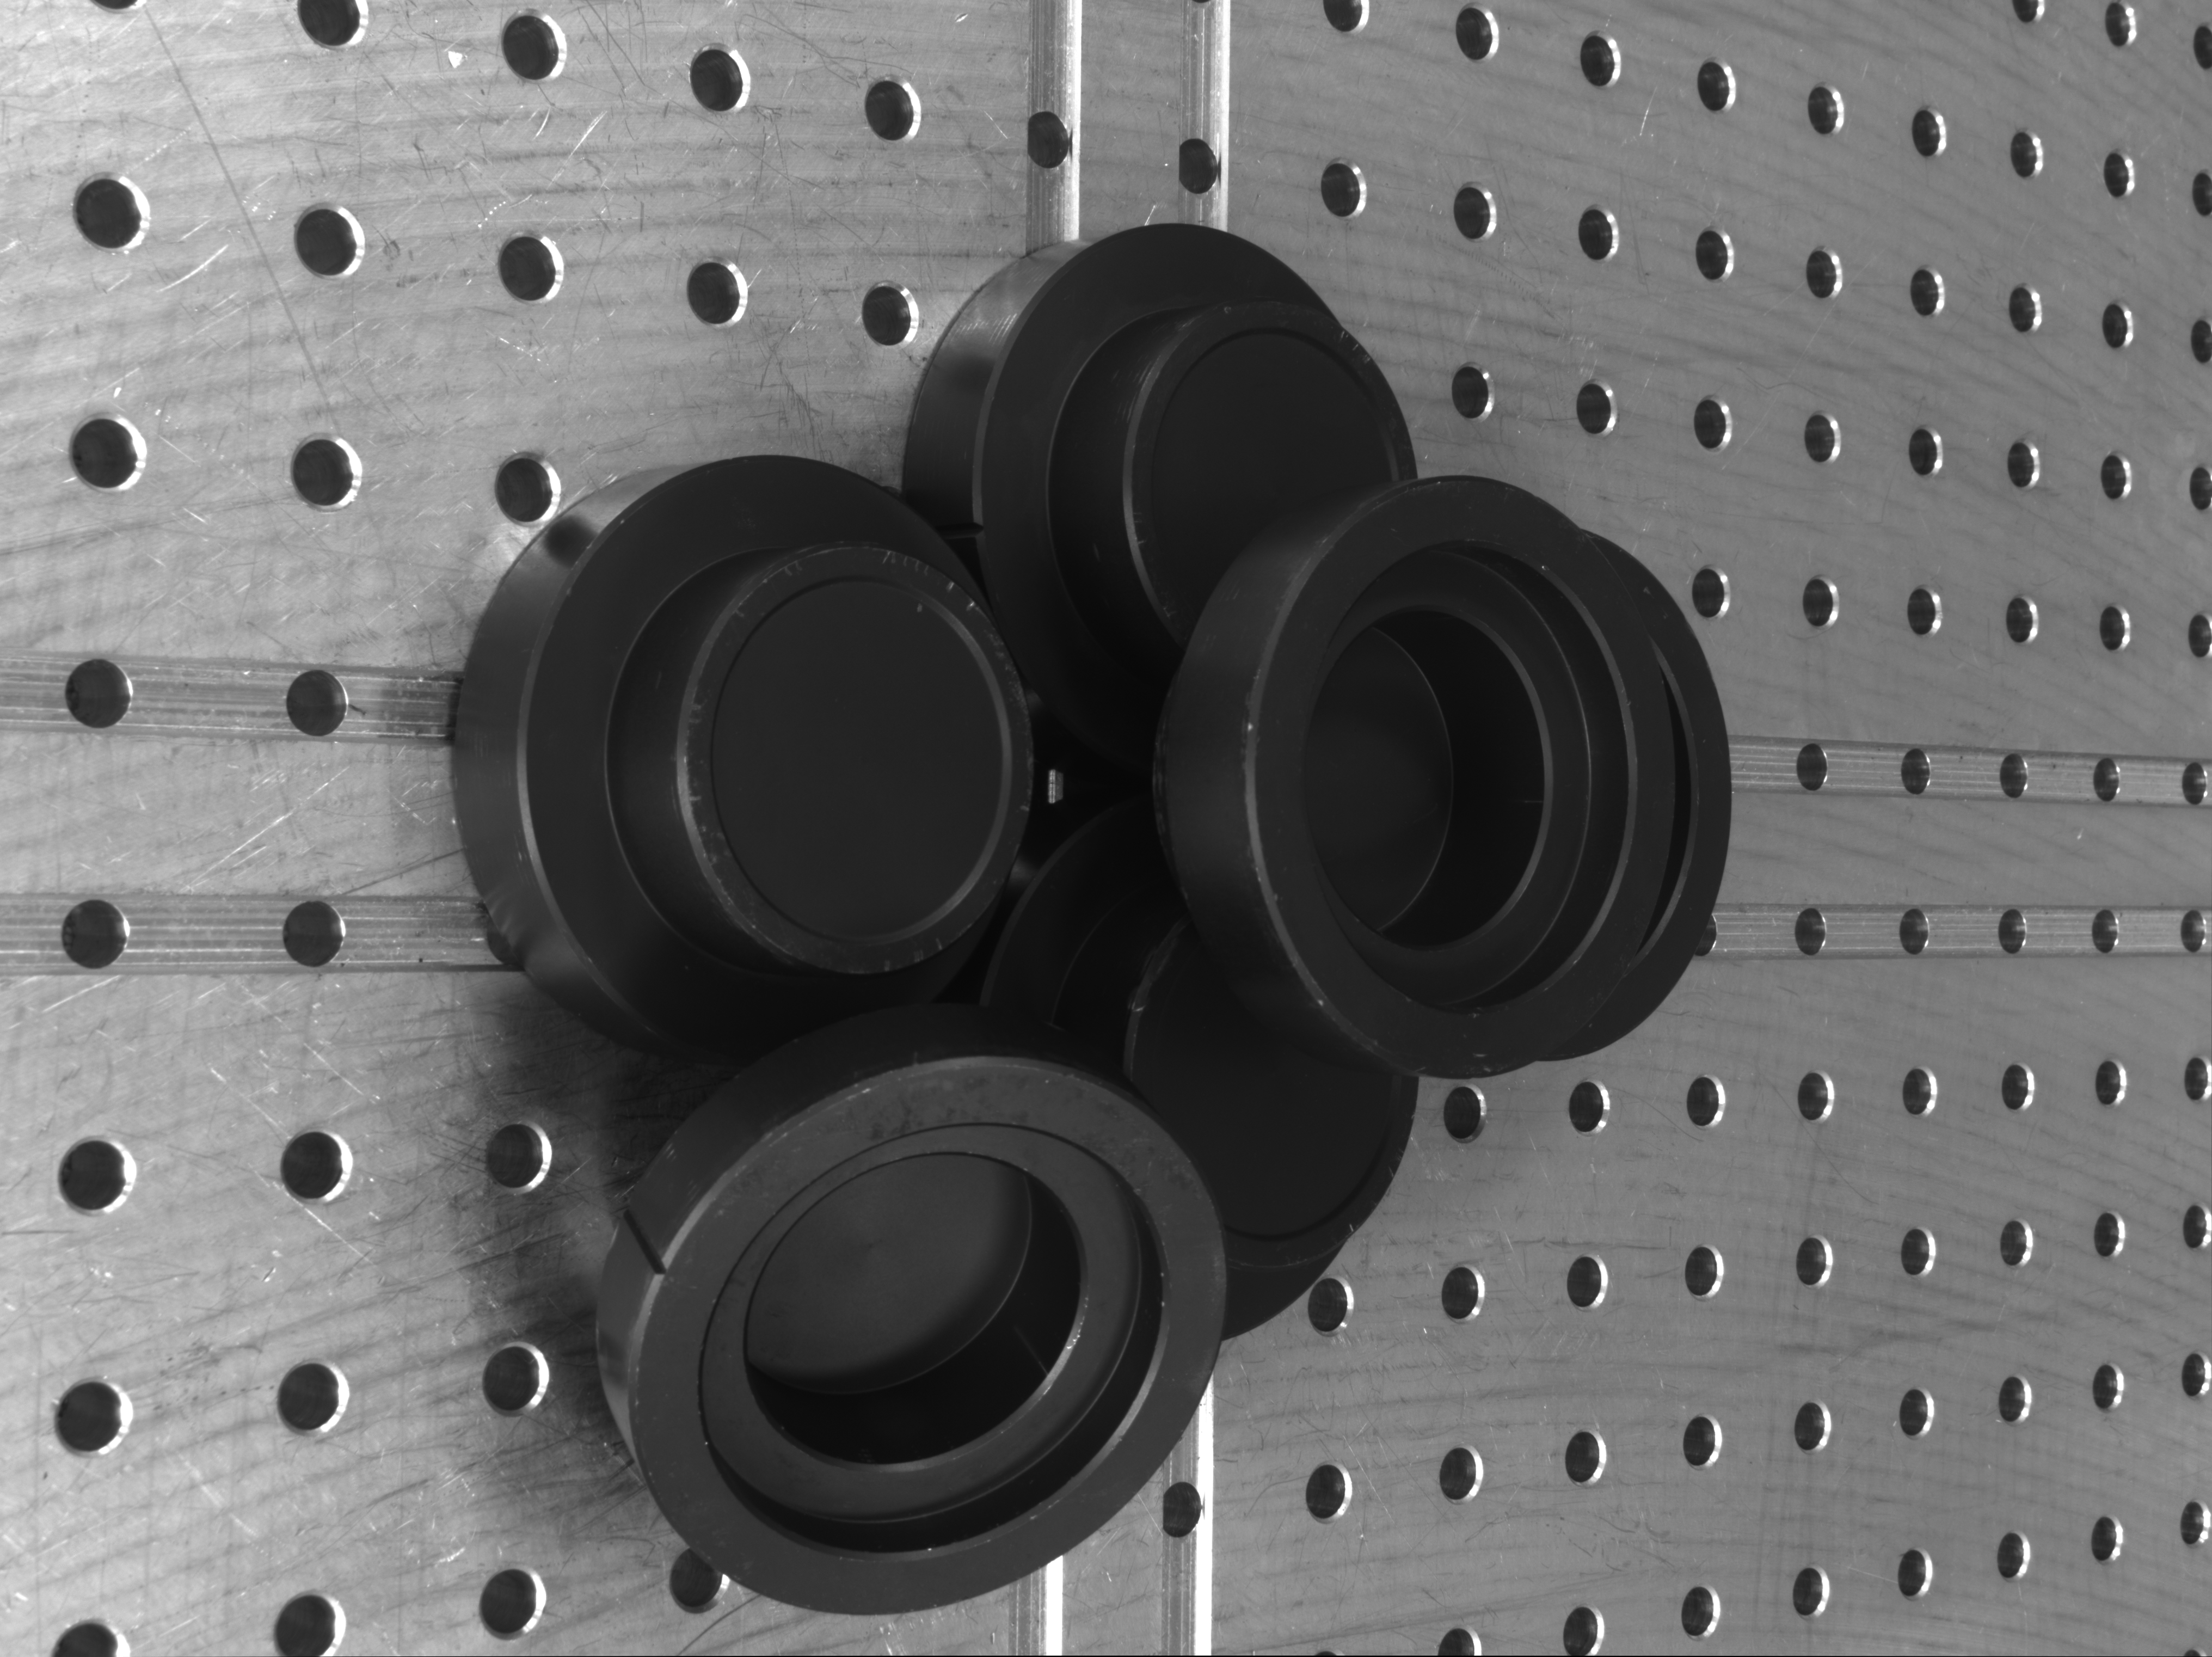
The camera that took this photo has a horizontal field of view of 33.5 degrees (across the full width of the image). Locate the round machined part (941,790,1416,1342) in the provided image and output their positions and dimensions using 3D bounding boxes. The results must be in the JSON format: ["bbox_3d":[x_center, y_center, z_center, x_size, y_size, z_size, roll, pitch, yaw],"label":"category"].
[{"bbox_3d":[0.016,0.042,0.641,0.098,0.042,0.098,0,90,-40],"label":"round machined part"}]

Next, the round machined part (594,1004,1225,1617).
[{"bbox_3d":[-0.034,0.072,0.583,0.098,0.042,0.098,-10,116,-21],"label":"round machined part"}]

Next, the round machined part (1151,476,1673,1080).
[{"bbox_3d":[0.046,-0.008,0.611,0.098,0.042,0.098,0,90,-40],"label":"round machined part"}]

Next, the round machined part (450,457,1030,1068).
[{"bbox_3d":[-0.051,-0.010,0.586,0.098,0.042,0.098,0,90,-40],"label":"round machined part"}]

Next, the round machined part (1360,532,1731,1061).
[{"bbox_3d":[0.069,-0.007,0.685,0.098,0.042,0.098,0,90,-40],"label":"round machined part"}]

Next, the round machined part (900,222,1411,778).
[{"bbox_3d":[0.016,-0.057,0.641,0.098,0.042,0.098,0,90,-40],"label":"round machined part"}]
